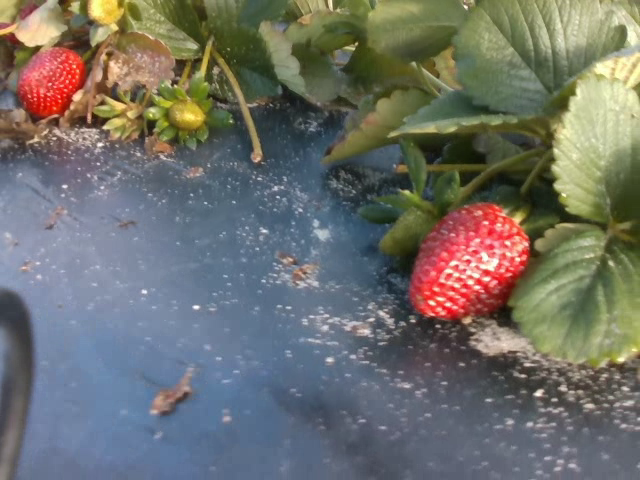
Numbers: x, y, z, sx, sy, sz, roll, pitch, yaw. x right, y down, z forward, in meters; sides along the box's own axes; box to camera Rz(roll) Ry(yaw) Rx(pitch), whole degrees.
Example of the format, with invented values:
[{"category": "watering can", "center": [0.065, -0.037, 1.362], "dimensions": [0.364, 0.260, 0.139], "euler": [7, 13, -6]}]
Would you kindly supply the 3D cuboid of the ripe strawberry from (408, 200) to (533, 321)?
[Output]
[{"category": "ripe strawberry", "center": [0.029, 0.005, 0.137], "dimensions": [0.029, 0.021, 0.036], "euler": [19, 41, 38]}]
